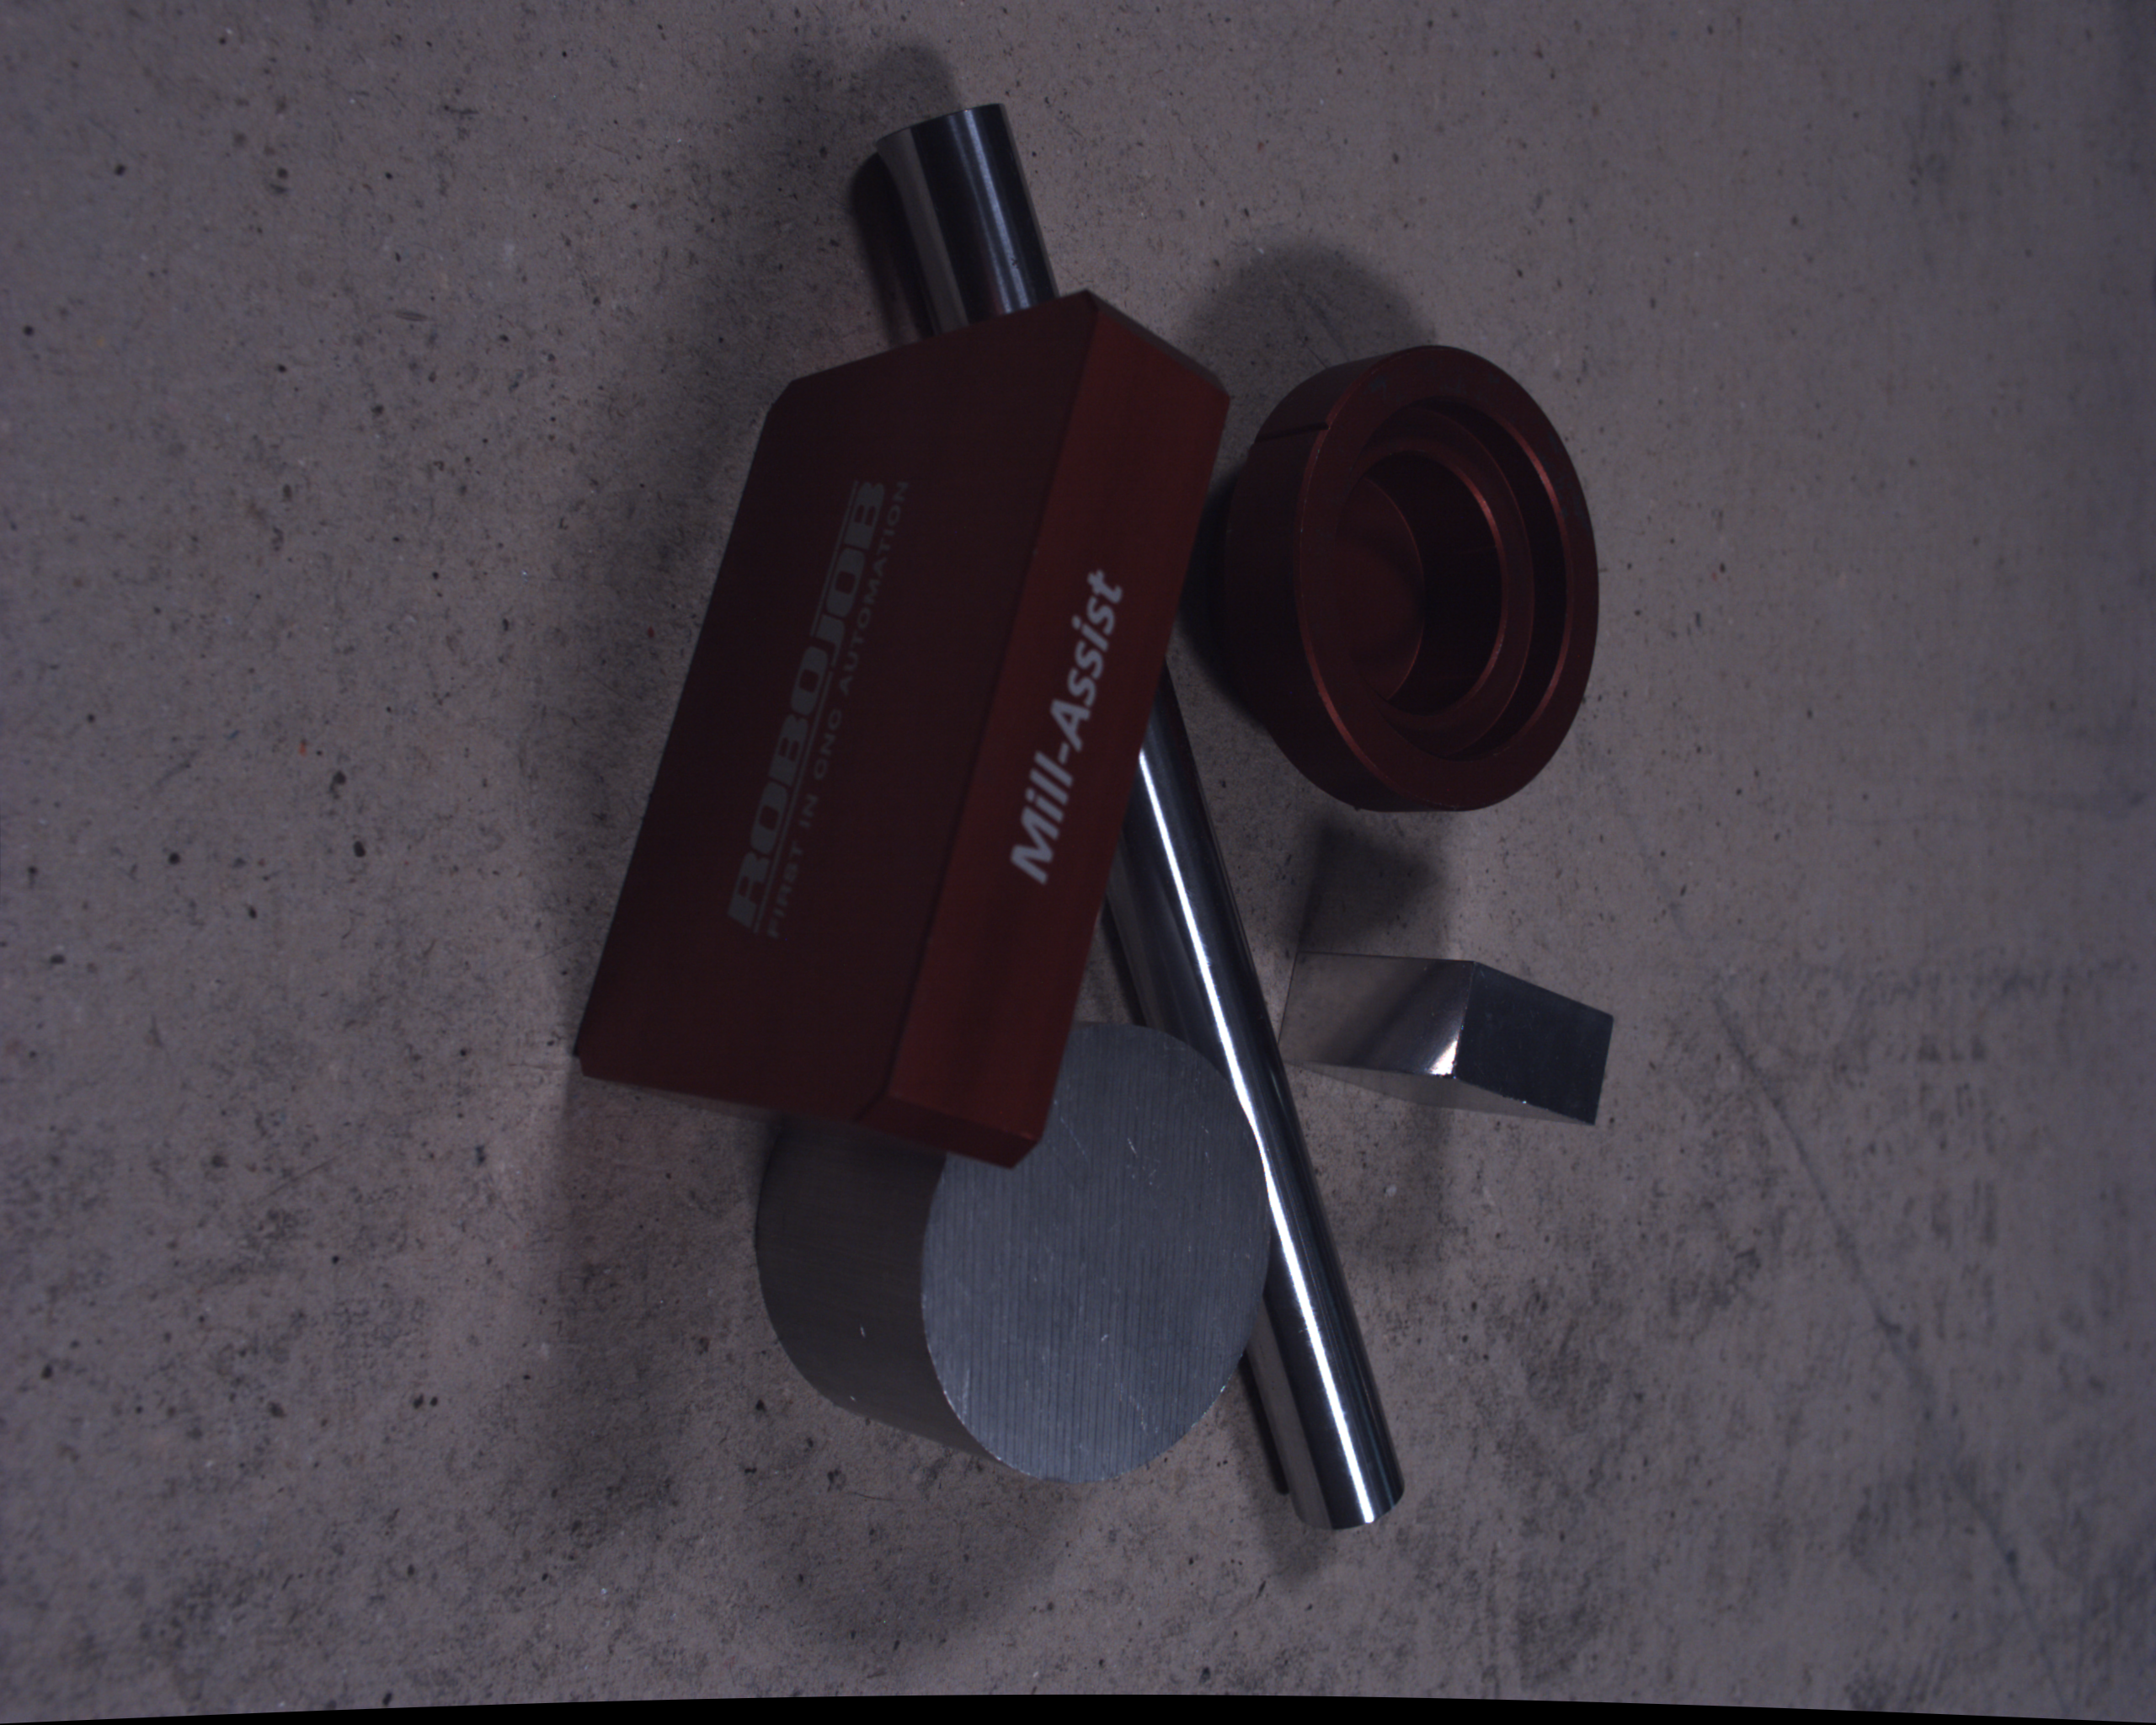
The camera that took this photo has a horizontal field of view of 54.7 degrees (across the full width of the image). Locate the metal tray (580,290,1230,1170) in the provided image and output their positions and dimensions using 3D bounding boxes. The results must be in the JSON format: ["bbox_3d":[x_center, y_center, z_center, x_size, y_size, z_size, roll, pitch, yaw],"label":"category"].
[{"bbox_3d":[-0.030,-0.021,0.340,0.030,0.090,0.130,24,75,-38],"label":"metal tray"}]

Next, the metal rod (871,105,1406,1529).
[{"bbox_3d":[0.017,0.001,0.423,0.025,0.025,0.298,-28,108,-37],"label":"metal rod"}]

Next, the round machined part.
[{"bbox_3d":[0.067,-0.060,0.453,0.099,0.042,0.097,0,90,-40],"label":"round machined part"}]

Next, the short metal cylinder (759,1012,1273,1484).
[{"bbox_3d":[-0.010,0.068,0.383,0.081,0.050,0.079,0,90,-40],"label":"short metal cylinder"}]

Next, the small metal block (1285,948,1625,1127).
[{"bbox_3d":[0.083,0.038,0.458,0.050,0.050,0.025,21,77,-38],"label":"small metal block"}]
